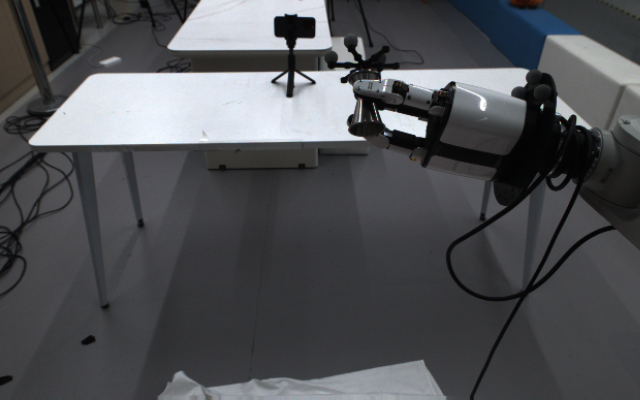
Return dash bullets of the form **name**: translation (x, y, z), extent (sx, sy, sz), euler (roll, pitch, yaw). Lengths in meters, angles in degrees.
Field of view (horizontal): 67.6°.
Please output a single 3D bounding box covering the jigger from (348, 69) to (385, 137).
- **jigger**: translation (0.055, -0.117, 0.578), extent (0.043, 0.043, 0.071), euler (0, 75, -3)
